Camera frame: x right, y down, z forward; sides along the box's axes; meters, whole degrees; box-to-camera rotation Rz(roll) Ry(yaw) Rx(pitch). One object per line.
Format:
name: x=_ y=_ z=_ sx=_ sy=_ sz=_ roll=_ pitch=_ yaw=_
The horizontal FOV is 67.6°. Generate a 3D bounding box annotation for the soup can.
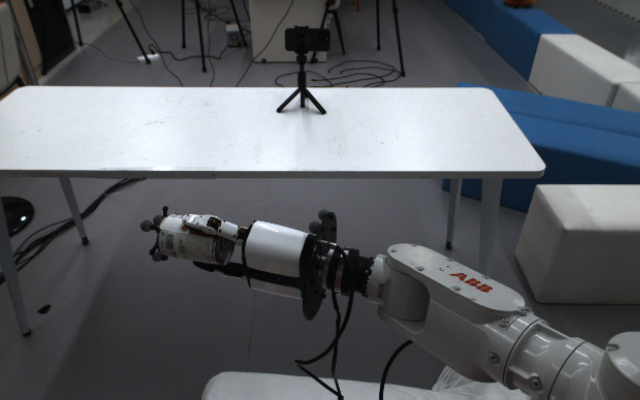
soup can: x=-0.188 y=0.062 z=0.747 sx=0.101 sy=0.067 sz=0.067 roll=8 pitch=35 yaw=10
